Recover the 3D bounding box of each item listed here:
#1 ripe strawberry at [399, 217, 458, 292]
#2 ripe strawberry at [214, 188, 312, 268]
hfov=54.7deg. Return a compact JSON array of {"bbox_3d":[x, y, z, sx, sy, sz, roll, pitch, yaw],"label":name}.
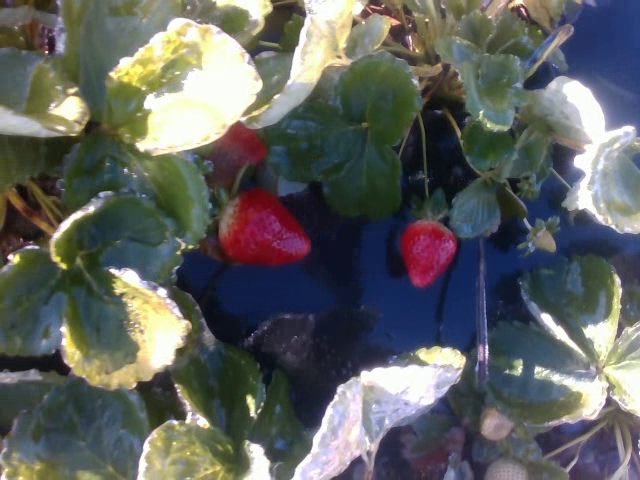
[{"bbox_3d":[0.065,0.010,0.360,0.039,0.047,0.040,17,-1,-27],"label":"ripe strawberry"},{"bbox_3d":[-0.025,0.000,0.334,0.056,0.044,0.040,29,4,-28],"label":"ripe strawberry"}]
